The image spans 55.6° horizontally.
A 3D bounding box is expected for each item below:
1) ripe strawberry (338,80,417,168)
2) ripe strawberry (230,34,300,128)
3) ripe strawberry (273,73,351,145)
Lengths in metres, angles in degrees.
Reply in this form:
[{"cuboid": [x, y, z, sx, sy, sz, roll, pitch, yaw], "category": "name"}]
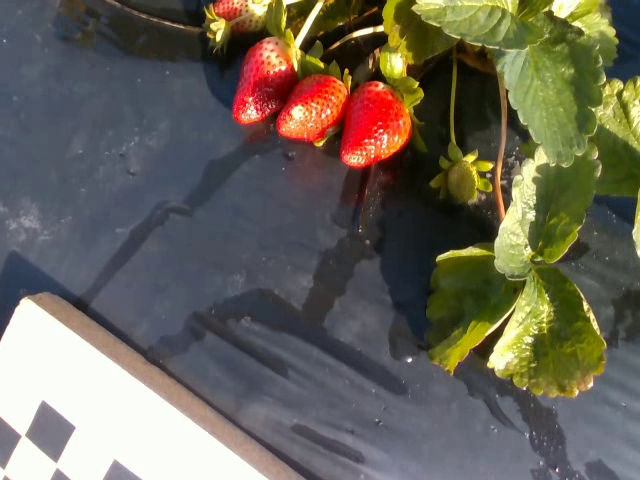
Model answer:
[{"cuboid": [0.019, -0.044, 0.264, 0.035, 0.034, 0.041, 28, 51, 15], "category": "ripe strawberry"}, {"cuboid": [-0.028, -0.073, 0.280, 0.031, 0.046, 0.023, 32, -2, 14], "category": "ripe strawberry"}, {"cuboid": [-0.006, -0.059, 0.267, 0.039, 0.030, 0.037, -34, -18, -48], "category": "ripe strawberry"}]
